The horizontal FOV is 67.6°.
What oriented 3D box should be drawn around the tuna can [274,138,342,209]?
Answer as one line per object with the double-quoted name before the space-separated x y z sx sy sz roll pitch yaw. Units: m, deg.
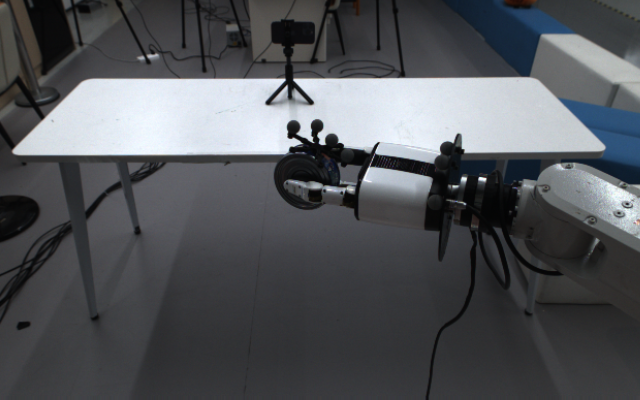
"tuna can" -0.017 -0.031 0.652 0.085 0.085 0.034 15 31 18
